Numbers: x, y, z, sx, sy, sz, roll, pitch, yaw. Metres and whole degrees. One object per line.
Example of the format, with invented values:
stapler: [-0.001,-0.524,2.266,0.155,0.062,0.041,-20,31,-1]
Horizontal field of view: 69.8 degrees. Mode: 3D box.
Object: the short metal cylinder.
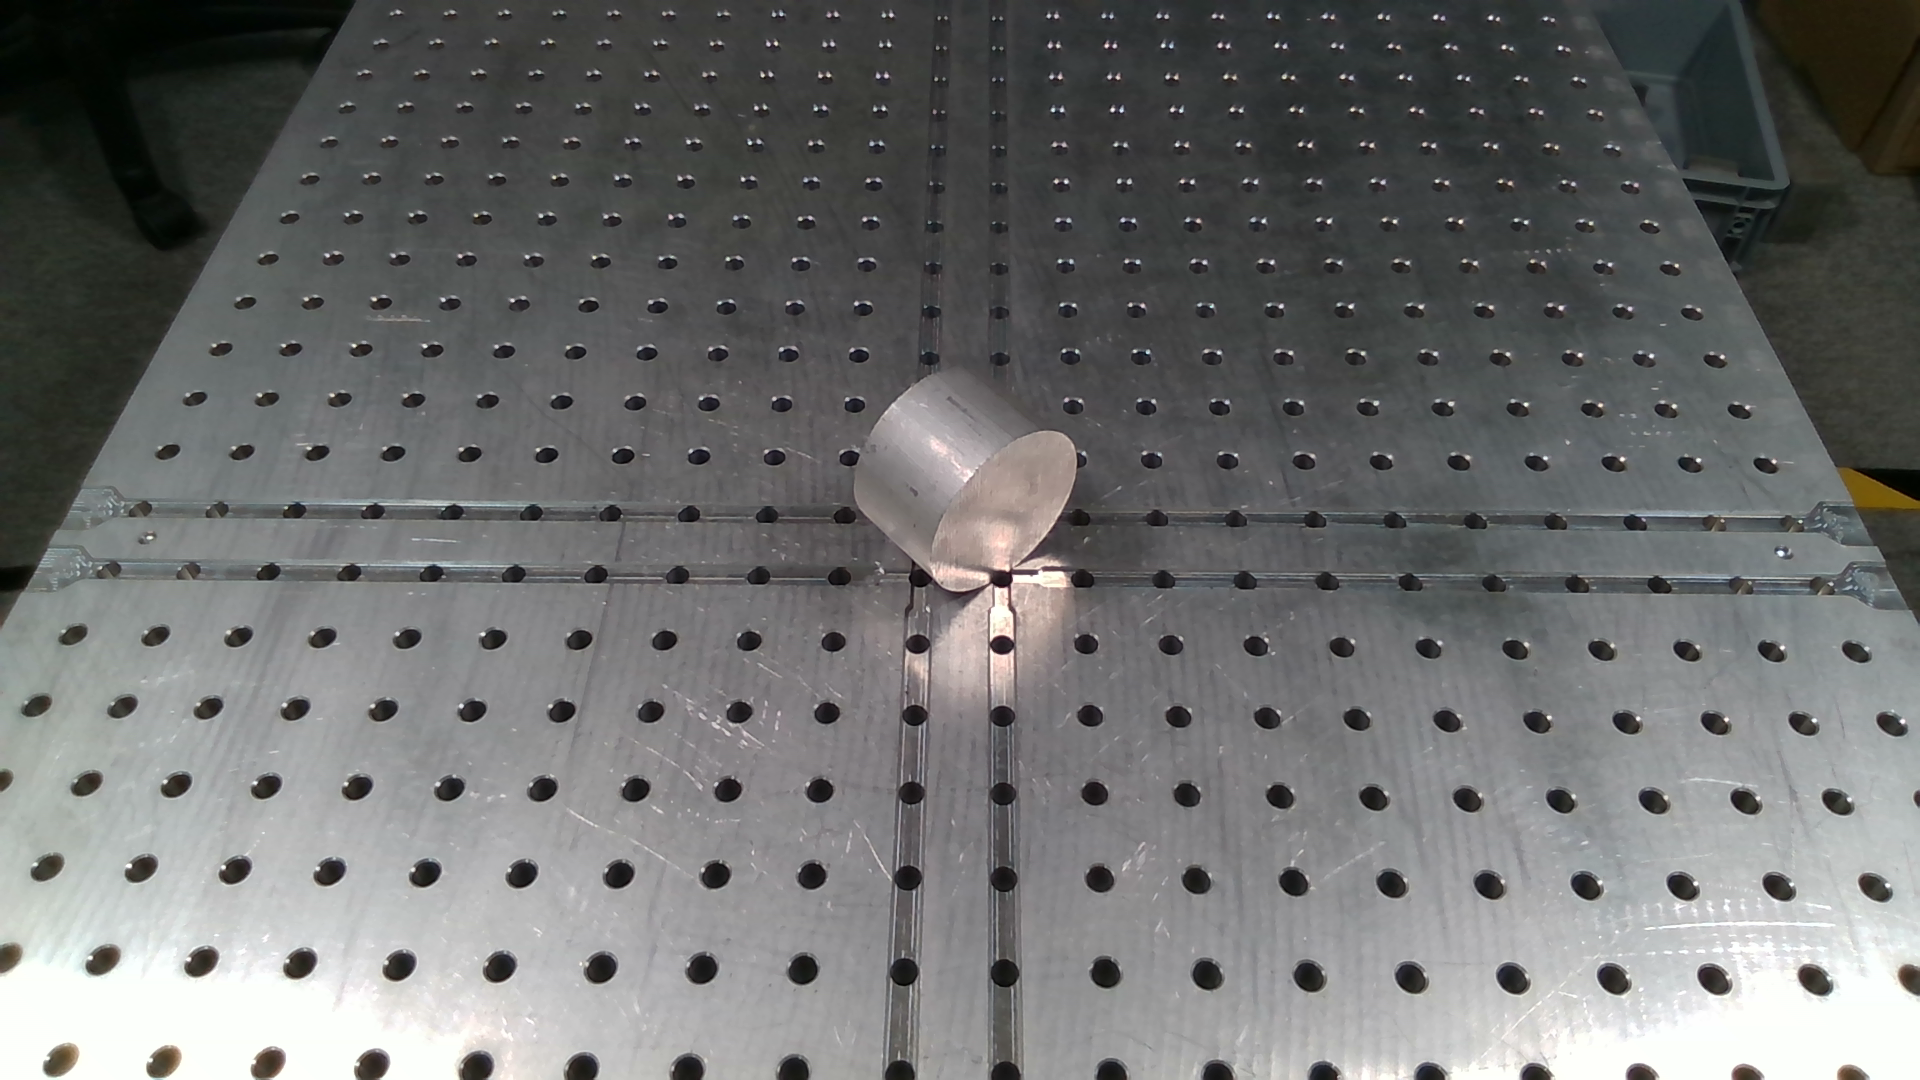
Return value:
short metal cylinder: [0.002,-0.026,0.575,0.080,0.080,0.050,-33,57,-24]
